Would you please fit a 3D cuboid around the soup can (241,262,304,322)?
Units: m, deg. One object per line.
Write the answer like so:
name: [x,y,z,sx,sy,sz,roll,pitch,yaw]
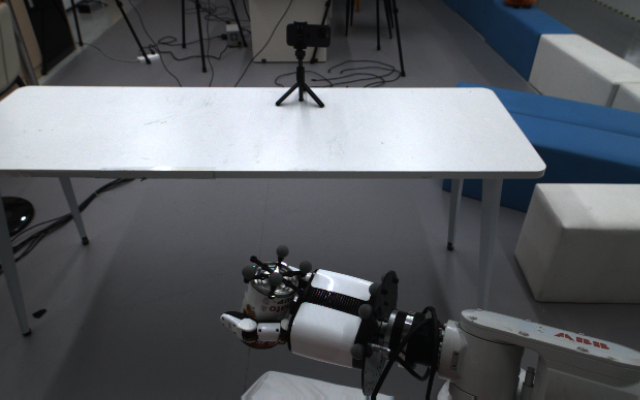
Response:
soup can: [-0.072,0.144,0.660,0.067,0.101,0.067,13,30,-8]
